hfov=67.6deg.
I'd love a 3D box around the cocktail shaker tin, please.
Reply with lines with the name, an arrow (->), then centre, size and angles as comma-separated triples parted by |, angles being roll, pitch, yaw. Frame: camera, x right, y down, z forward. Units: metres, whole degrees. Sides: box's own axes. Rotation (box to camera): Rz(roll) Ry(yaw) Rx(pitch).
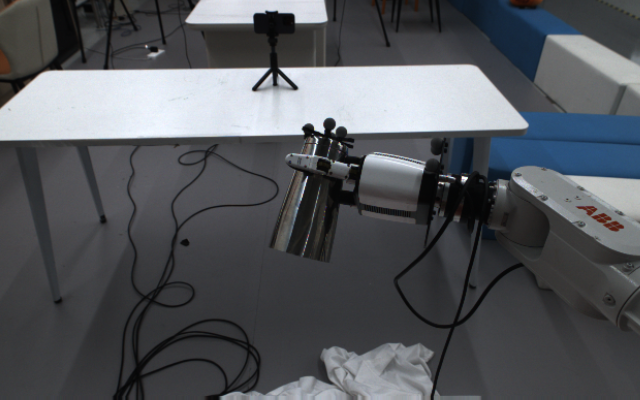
cocktail shaker tin -> -0.009, -0.005, 0.711 | 0.093, 0.170, 0.093 | 15, -5, 1
